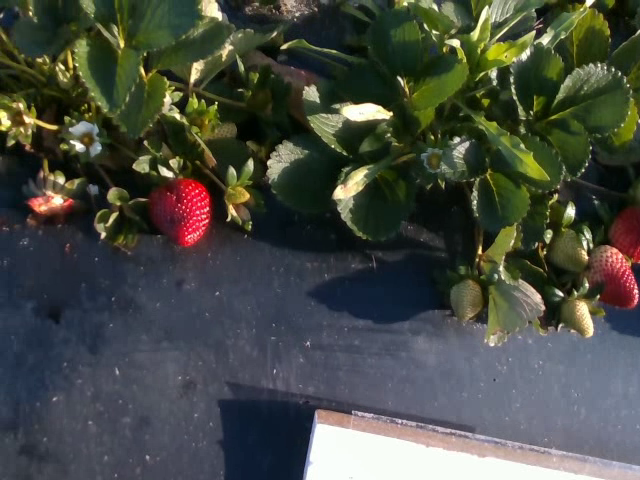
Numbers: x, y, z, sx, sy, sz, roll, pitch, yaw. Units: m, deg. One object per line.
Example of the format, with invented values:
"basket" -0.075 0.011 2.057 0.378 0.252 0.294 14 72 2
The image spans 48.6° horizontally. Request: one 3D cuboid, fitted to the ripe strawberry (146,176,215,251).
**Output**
"ripe strawberry" -0.094 -0.015 0.472 0.052 0.041 0.051 -19 41 1
